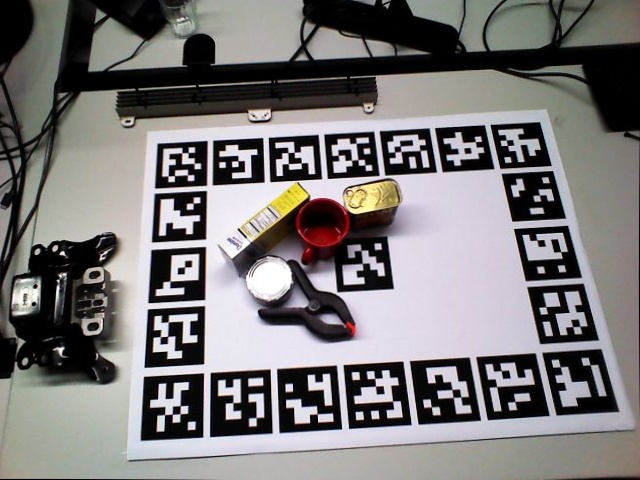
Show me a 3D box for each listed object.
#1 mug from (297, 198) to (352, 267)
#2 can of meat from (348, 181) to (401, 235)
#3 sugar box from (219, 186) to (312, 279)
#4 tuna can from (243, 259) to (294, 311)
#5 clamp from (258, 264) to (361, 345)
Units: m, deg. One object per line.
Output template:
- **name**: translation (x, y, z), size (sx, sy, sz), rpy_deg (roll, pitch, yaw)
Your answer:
- **mug**: translation (0.003, -0.004, 0.896), size (0.093, 0.082, 0.116), rpy_deg (20, 72, 6)
- **can of meat**: translation (0.099, -0.055, 0.925), size (0.102, 0.084, 0.057), rpy_deg (-11, 68, -6)
- **sugar box**: translation (-0.091, -0.011, 0.902), size (0.176, 0.093, 0.045), rpy_deg (-40, 73, -16)
- **tuna can**: translation (-0.088, 0.078, 0.892), size (0.086, 0.034, 0.085), rpy_deg (0, 71, 0)
- **clamp**: translation (-0.006, 0.126, 0.880), size (0.165, 0.037, 0.121), rpy_deg (31, 68, 6)
